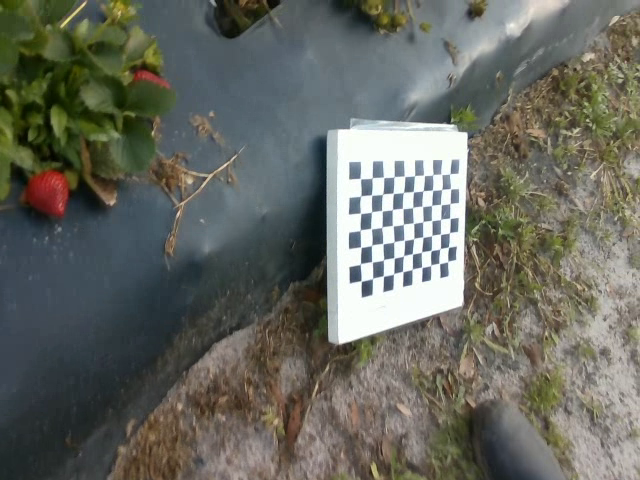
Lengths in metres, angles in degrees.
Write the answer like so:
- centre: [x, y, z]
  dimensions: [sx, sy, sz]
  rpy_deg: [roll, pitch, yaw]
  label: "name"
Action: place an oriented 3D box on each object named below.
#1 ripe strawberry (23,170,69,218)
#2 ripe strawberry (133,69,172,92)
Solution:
- centre: [-0.254, -0.036, 0.578]
  dimensions: [0.043, 0.051, 0.042]
  rpy_deg: [-29, -5, -38]
  label: "ripe strawberry"
- centre: [-0.184, -0.158, 0.660]
  dimensions: [0.046, 0.043, 0.046]
  rpy_deg: [-6, 6, -13]
  label: "ripe strawberry"
